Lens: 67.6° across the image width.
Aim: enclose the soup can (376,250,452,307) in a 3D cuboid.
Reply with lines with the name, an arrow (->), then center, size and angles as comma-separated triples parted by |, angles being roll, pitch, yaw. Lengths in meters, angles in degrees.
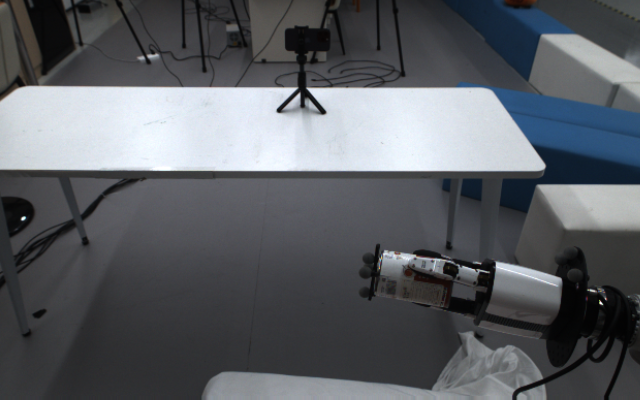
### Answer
soup can -> 0.135, 0.109, 0.681 | 0.101, 0.067, 0.067 | 8, 35, 9
